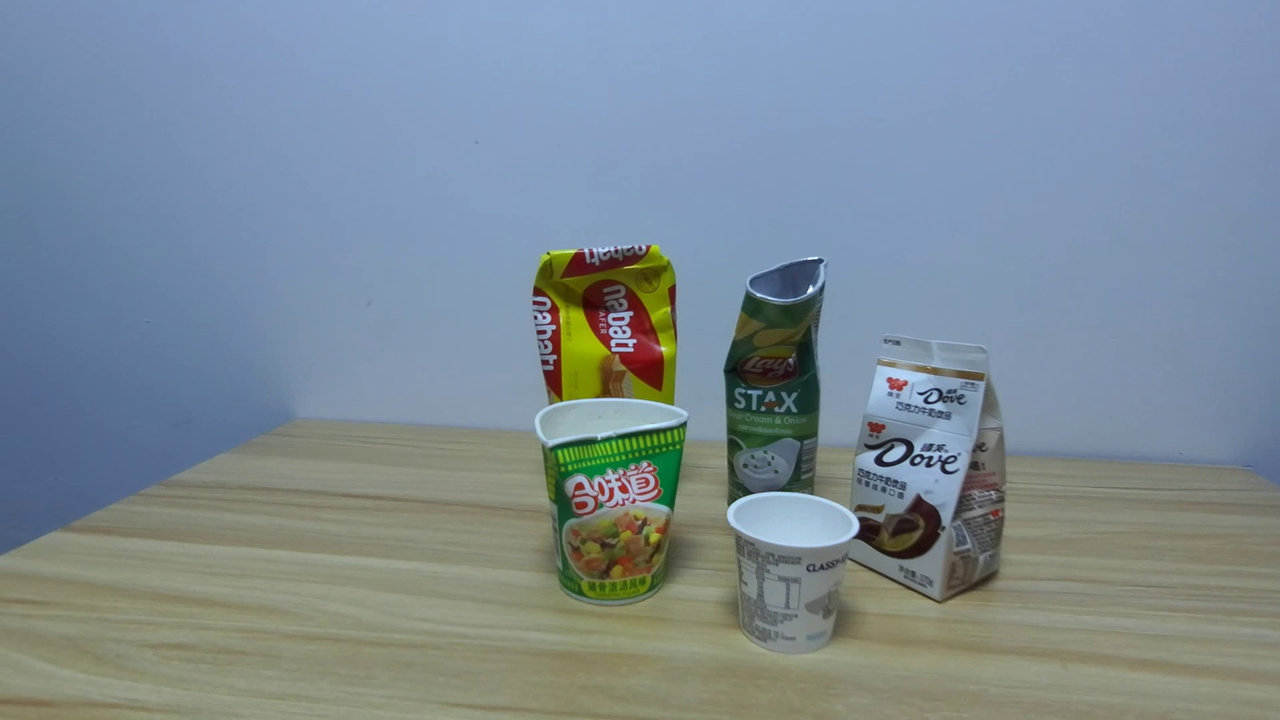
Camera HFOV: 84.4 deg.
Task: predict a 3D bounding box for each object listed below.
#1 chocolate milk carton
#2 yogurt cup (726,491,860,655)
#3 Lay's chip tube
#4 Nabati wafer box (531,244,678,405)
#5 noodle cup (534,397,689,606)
[{"bbox_3d":[0.192,0.064,0.460,0.073,0.155,0.084,-8,16,-36],"label":"chocolate milk carton"},{"bbox_3d":[0.084,0.119,0.397,0.072,0.068,0.072,0,14,0],"label":"yogurt cup"},{"bbox_3d":[0.105,0.026,0.535,0.079,0.199,0.071,-3,20,-9],"label":"Lay's chip tube"},{"bbox_3d":[-0.023,0.014,0.564,0.113,0.205,0.042,-6,11,-17],"label":"Nabati wafer box"},{"bbox_3d":[-0.017,0.087,0.450,0.094,0.109,0.087,-1,13,-5],"label":"noodle cup"}]
